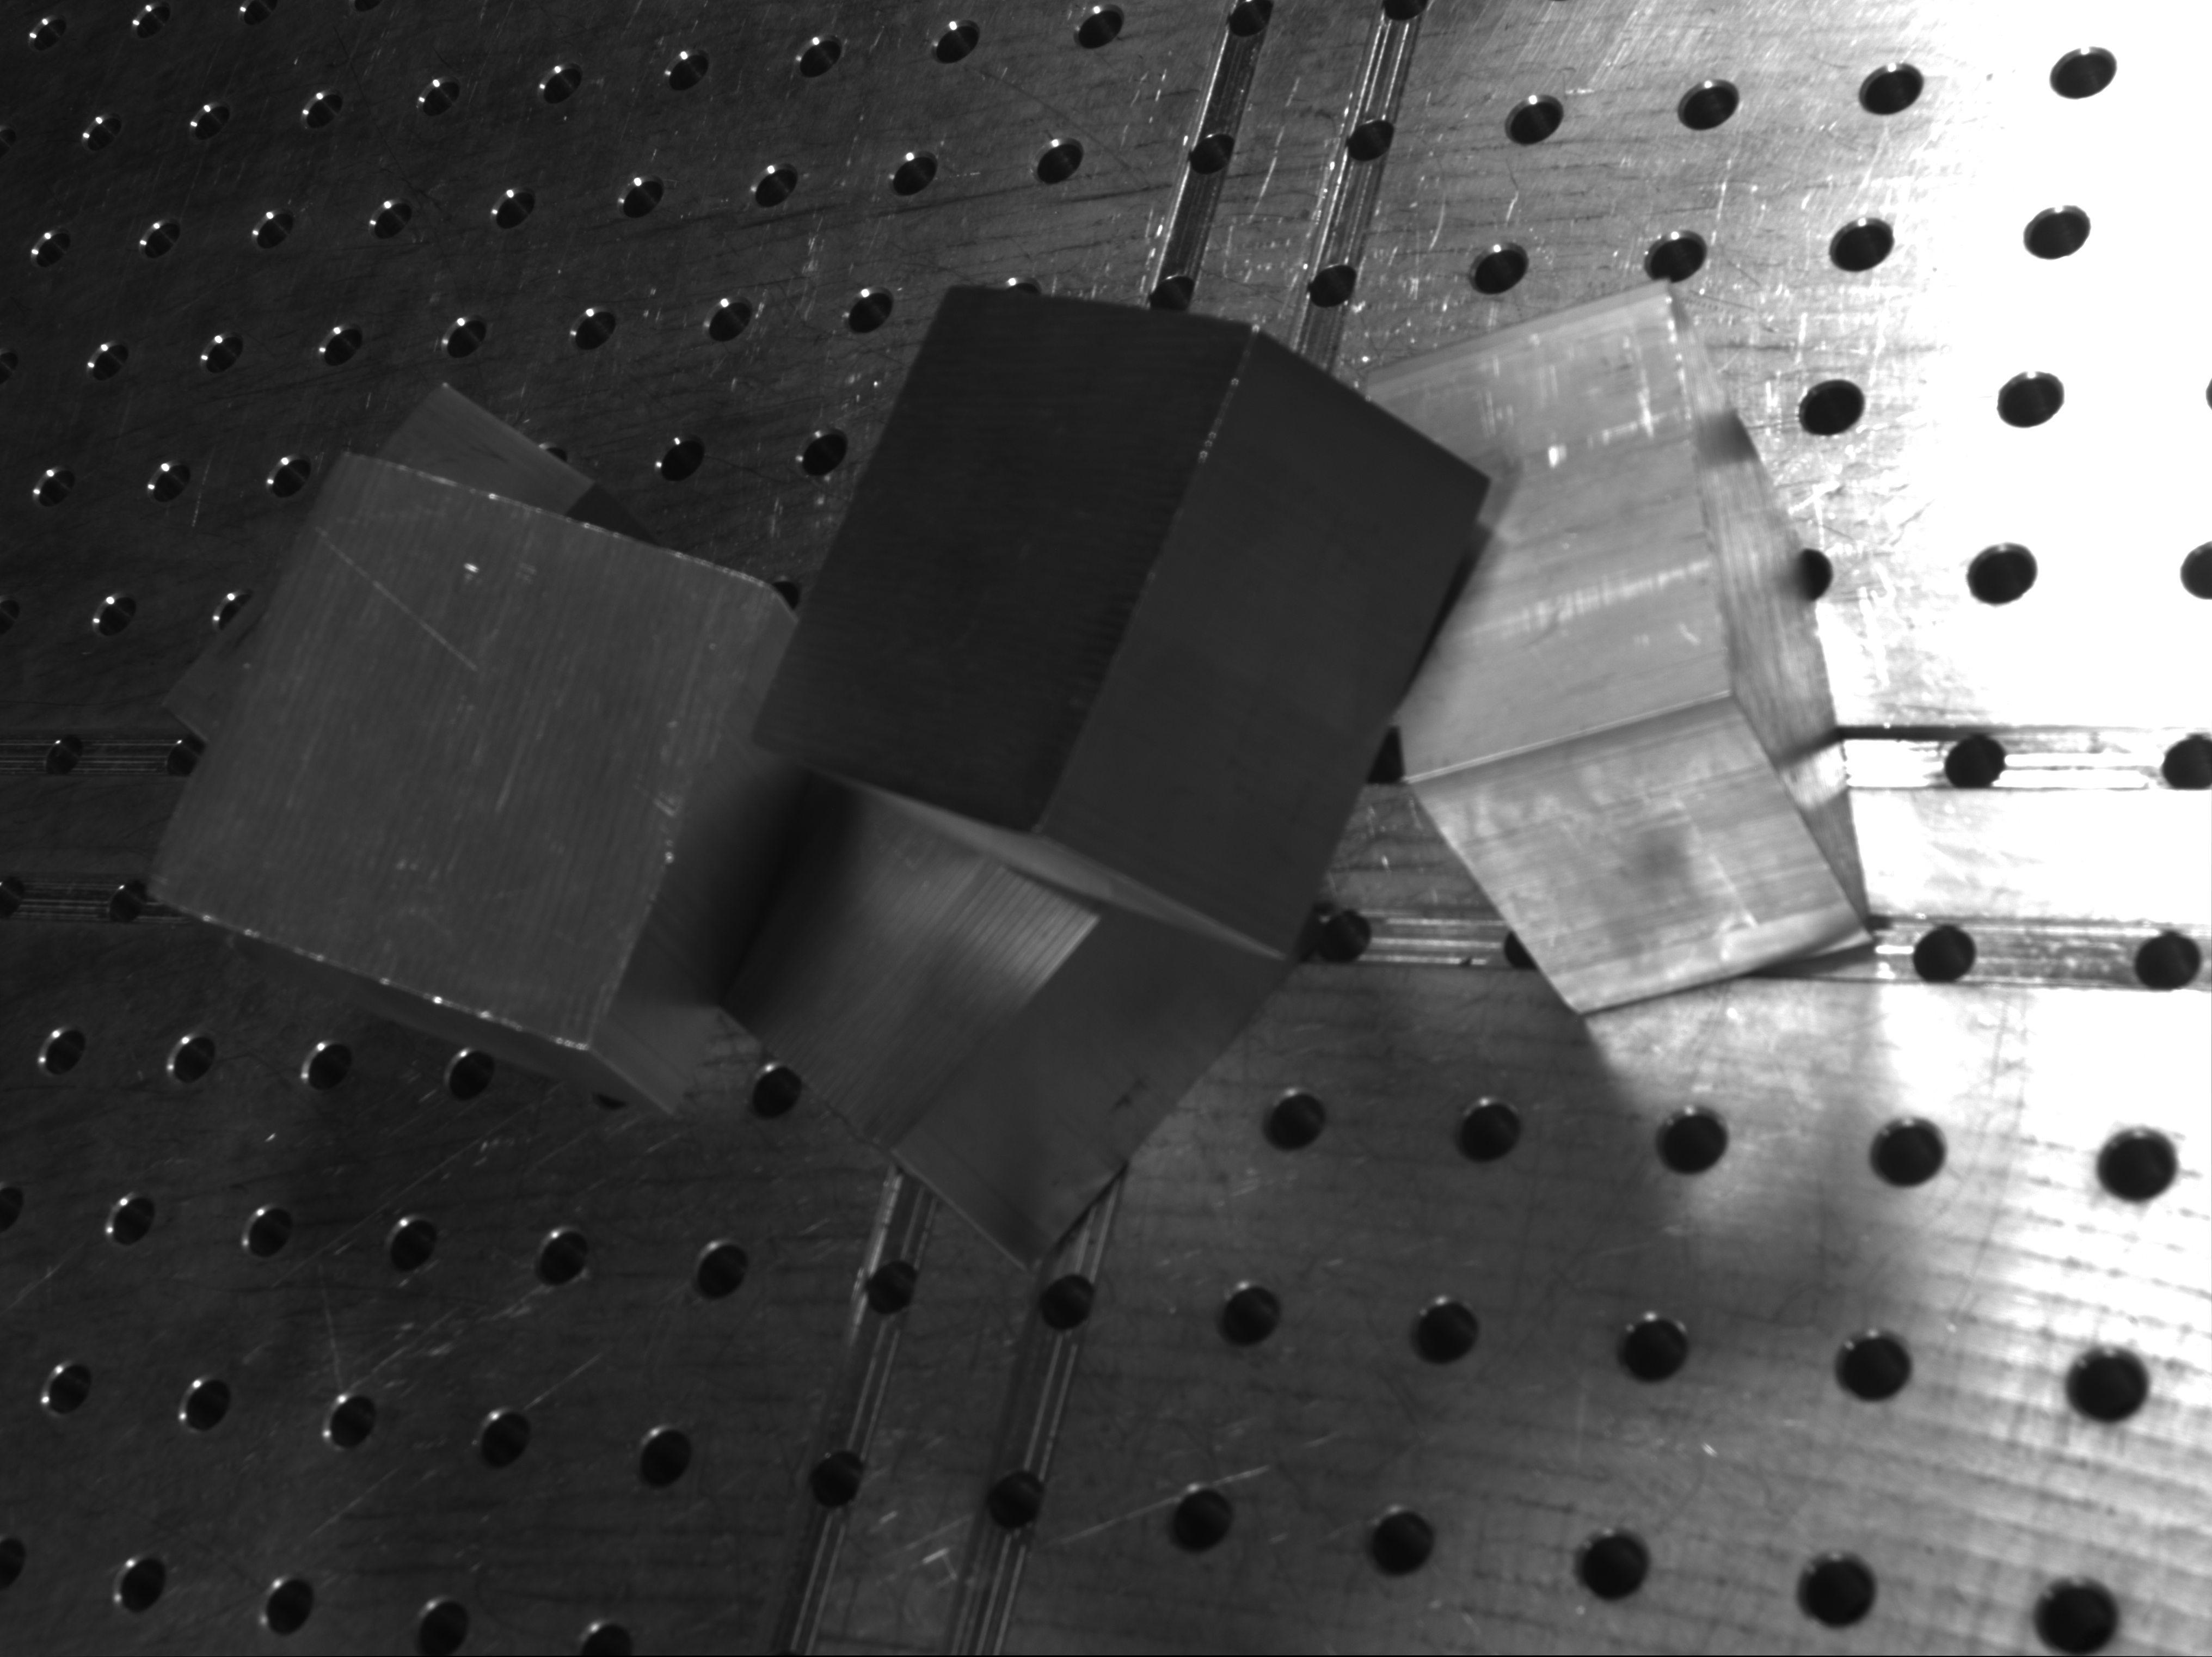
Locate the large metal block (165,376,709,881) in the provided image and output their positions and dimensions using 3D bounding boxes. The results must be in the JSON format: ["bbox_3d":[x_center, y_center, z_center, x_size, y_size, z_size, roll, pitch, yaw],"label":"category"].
[{"bbox_3d":[-0.113,-0.023,0.686,0.050,0.080,0.080,34,81,38],"label":"large metal block"}]

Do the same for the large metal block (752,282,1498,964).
[{"bbox_3d":[0.002,-0.033,0.561,0.080,0.050,0.080,18,84,51],"label":"large metal block"}]

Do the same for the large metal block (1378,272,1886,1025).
[{"bbox_3d":[0.084,-0.027,0.583,0.050,0.080,0.080,-15,55,20],"label":"large metal block"}]

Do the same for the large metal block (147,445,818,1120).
[{"bbox_3d":[-0.097,-0.007,0.603,0.080,0.050,0.080,18,77,13],"label":"large metal block"}]

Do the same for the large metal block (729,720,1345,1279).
[{"bbox_3d":[-0.021,0.016,0.632,0.080,0.050,0.080,-49,51,-6],"label":"large metal block"}]
